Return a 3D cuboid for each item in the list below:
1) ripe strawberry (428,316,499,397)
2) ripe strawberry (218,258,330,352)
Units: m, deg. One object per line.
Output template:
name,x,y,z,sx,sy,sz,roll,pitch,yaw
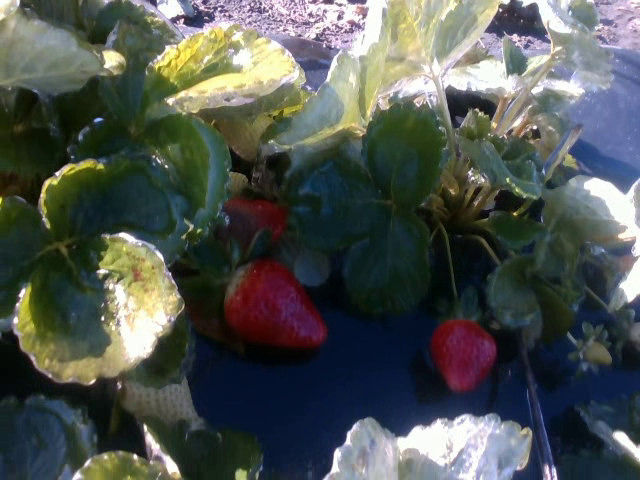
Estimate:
ripe strawberry,0.073,0.060,0.306,0.039,0.047,0.040,31,-35,-13
ripe strawberry,-0.016,0.034,0.291,0.056,0.044,0.040,41,-26,-8
